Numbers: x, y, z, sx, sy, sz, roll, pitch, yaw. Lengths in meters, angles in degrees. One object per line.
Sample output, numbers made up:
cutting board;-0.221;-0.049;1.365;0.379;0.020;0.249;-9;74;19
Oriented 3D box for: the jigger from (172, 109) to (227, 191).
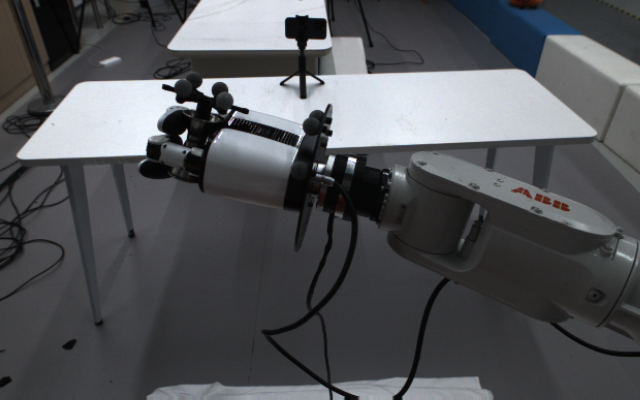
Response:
jigger;-0.131;-0.056;0.514;0.043;0.071;0.043;18;17;-6
